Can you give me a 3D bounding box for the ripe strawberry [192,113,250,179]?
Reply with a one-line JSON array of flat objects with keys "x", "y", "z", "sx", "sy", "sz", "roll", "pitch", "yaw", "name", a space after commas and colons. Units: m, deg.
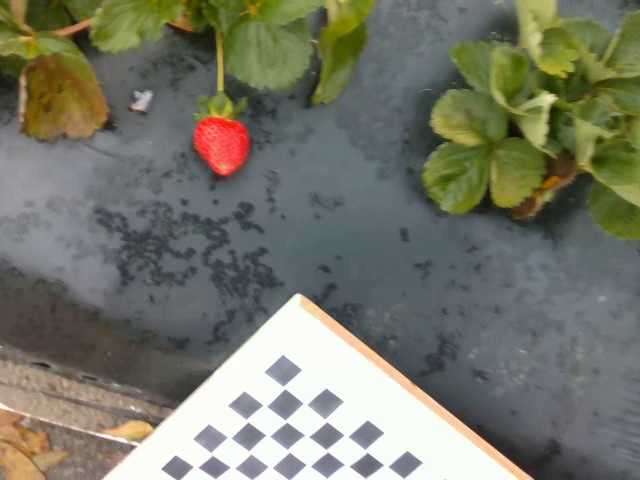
[{"x": -0.073, "y": -0.070, "z": 0.467, "sx": 0.045, "sy": 0.054, "sz": 0.048, "roll": -6, "pitch": -24, "yaw": 7, "name": "ripe strawberry"}]
